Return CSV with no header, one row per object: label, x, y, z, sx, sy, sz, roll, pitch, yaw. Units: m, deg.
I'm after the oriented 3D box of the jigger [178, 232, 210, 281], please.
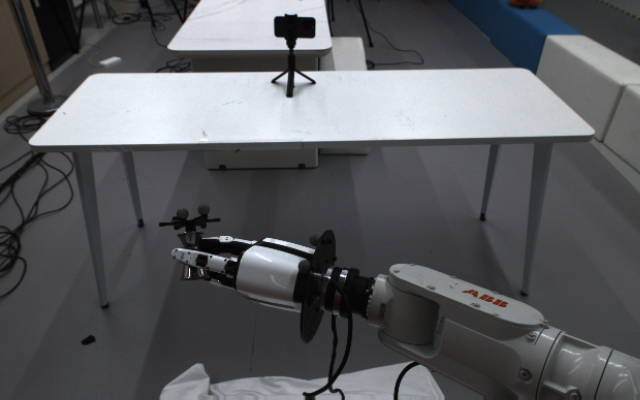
jigger,-0.187,0.083,0.717,0.043,0.043,0.071,-6,79,-12
